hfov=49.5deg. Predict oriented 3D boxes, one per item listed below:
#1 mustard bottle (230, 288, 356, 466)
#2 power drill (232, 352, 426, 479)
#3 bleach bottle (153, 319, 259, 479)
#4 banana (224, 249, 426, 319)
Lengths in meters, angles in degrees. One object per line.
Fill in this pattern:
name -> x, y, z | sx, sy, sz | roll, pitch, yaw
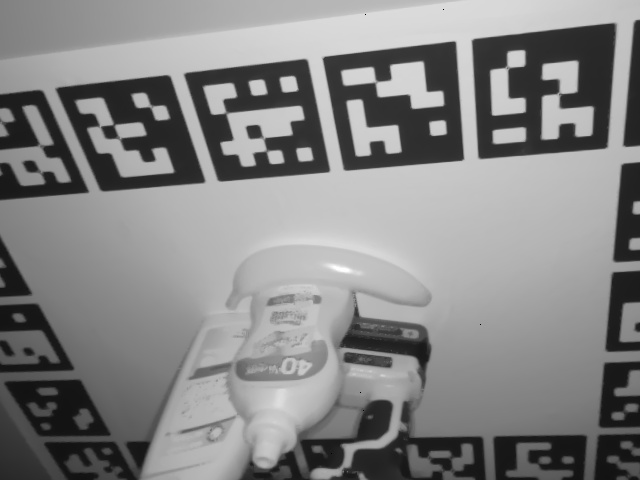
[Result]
mustard bottle -> -0.026, 0.115, 0.604 | 0.096, 0.193, 0.058 | -3, 121, 12
power drill -> 0.023, 0.182, 0.615 | 0.184, 0.189, 0.057 | 7, 124, 6
bleach bottle -> -0.088, 0.181, 0.626 | 0.102, 0.253, 0.067 | -2, 127, 10
banana -> 0.001, 0.042, 0.657 | 0.197, 0.039, 0.073 | -1, 121, 6
